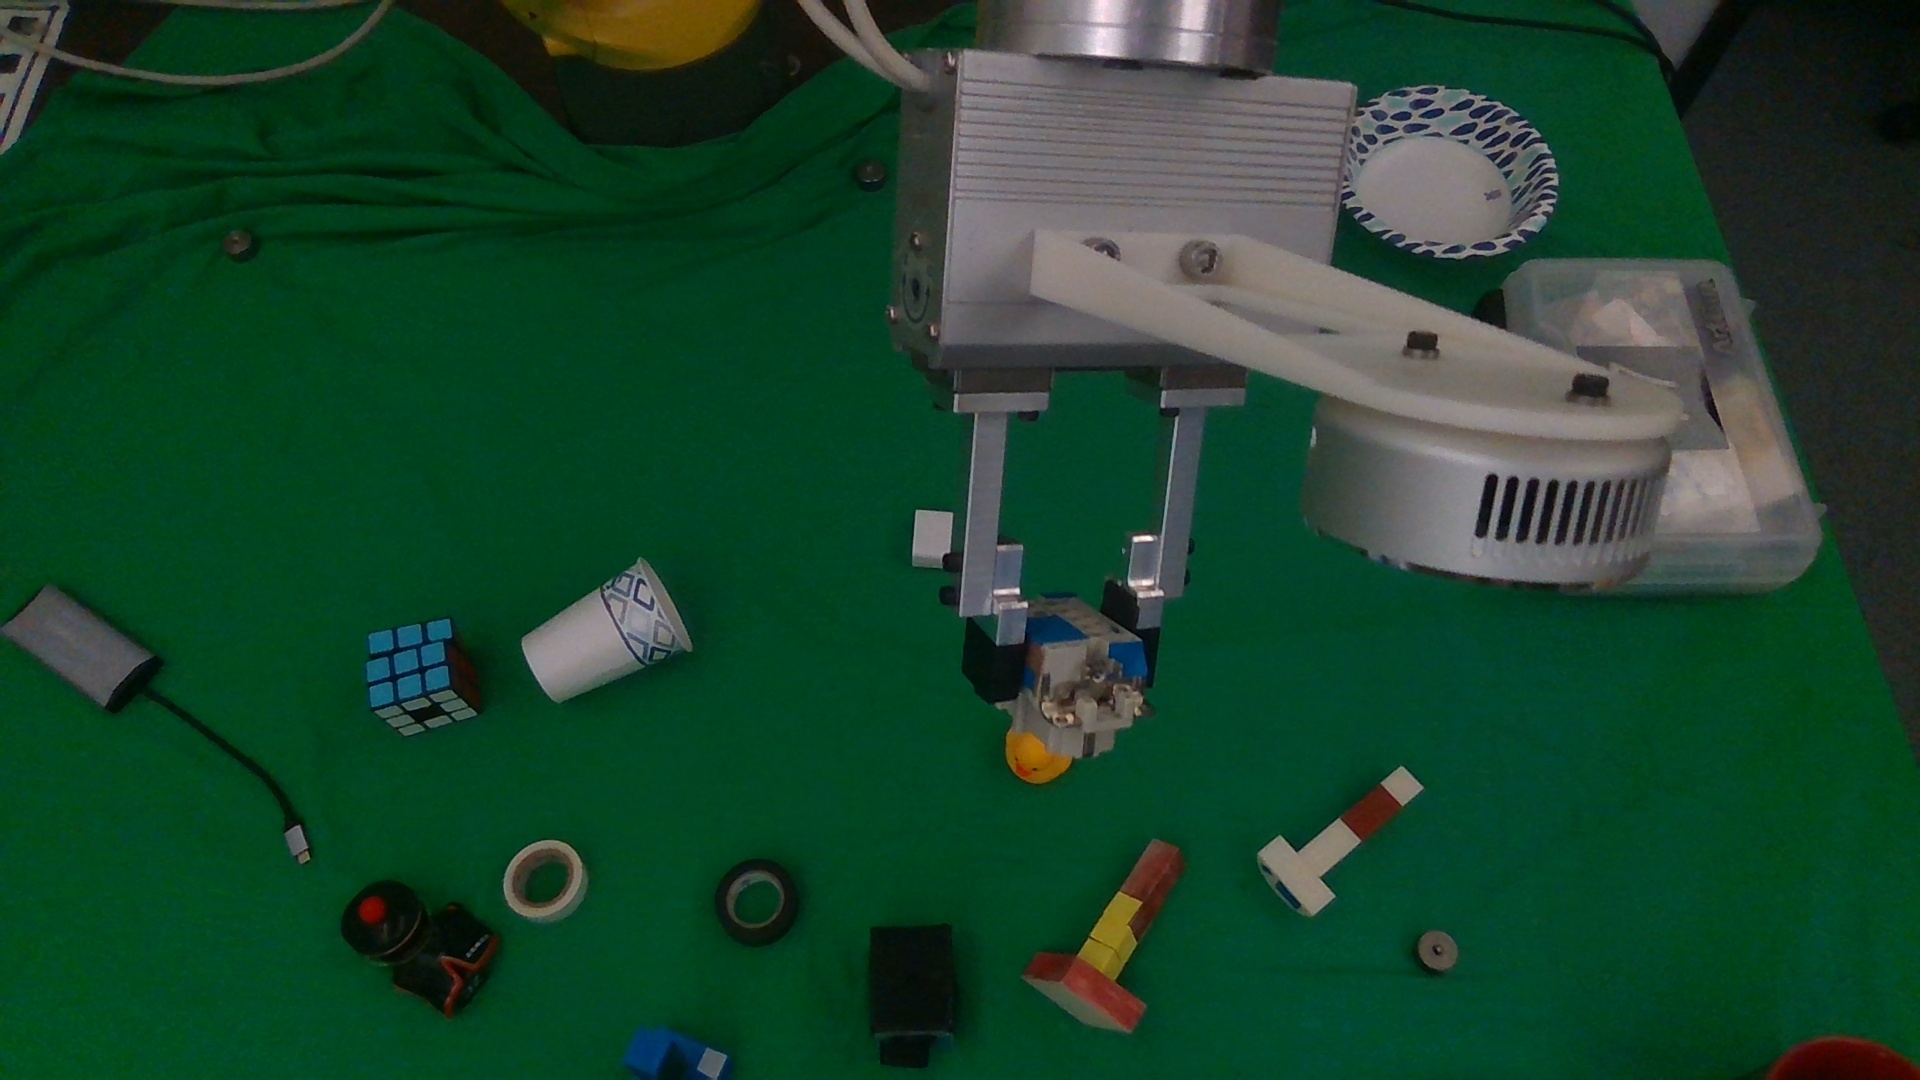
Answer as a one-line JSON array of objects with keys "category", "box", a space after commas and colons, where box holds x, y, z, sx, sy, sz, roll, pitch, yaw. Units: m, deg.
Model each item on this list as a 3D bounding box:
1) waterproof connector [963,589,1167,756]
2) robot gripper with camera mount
[{"category": "waterproof connector", "box": [0.029, 0.039, 0.411, 0.035, 0.037, 0.065, -4, 18, -28]}, {"category": "robot gripper with camera mount", "box": [0.073, -0.012, 0.320, 0.118, 0.158, 0.194, -5, 17, -25]}]
